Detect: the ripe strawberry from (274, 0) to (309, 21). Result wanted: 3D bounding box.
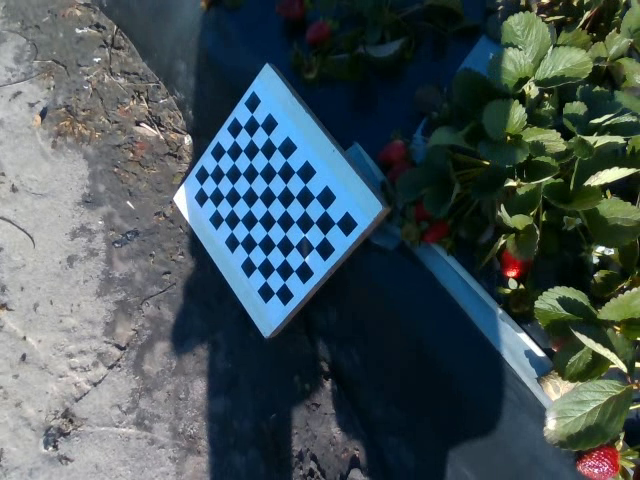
[{"bbox_3d":[-0.054,-0.359,0.954,0.050,0.051,0.044,-15,-14,-31],"label":"ripe strawberry"}]

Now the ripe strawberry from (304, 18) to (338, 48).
[{"bbox_3d":[-0.009,-0.307,0.928,0.042,0.039,0.049,5,32,39],"label":"ripe strawberry"}]
